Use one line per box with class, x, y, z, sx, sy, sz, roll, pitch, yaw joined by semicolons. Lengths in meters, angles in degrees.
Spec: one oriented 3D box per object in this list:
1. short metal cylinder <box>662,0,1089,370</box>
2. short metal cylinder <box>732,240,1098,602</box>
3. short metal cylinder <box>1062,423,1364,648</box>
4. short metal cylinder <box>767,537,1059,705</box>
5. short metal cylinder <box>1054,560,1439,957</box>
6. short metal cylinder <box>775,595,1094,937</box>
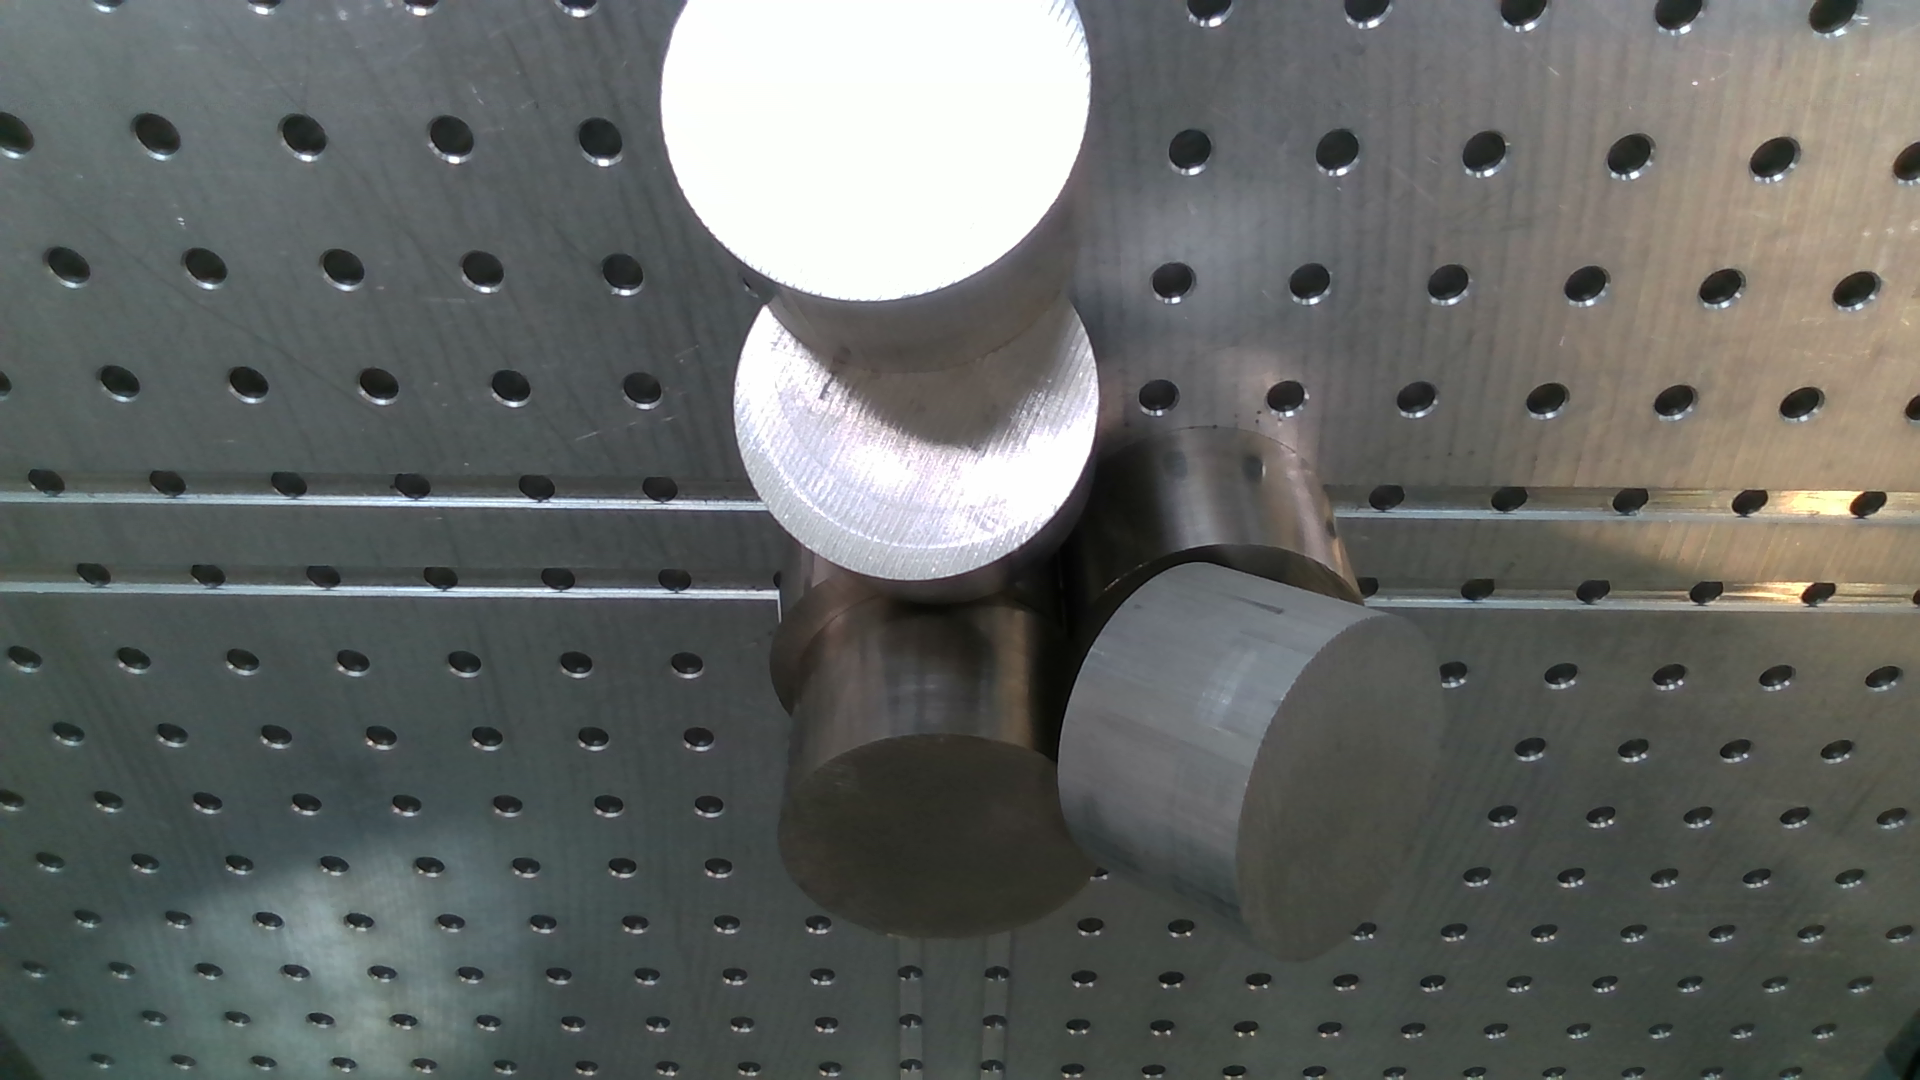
short metal cylinder;-0.014;-0.080;0.280;0.080;0.080;0.050;-6;172;5
short metal cylinder;-0.008;-0.027;0.323;0.080;0.080;0.050;-5;171;4
short metal cylinder;0.069;0.014;0.387;0.080;0.050;0.080;0;130;0
short metal cylinder;-0.012;0.018;0.390;0.080;0.050;0.080;0;130;0
short metal cylinder;0.068;0.049;0.323;0.050;0.080;0.080;18;147;46
short metal cylinder;-0.005;0.058;0.357;0.080;0.050;0.080;0;130;0
